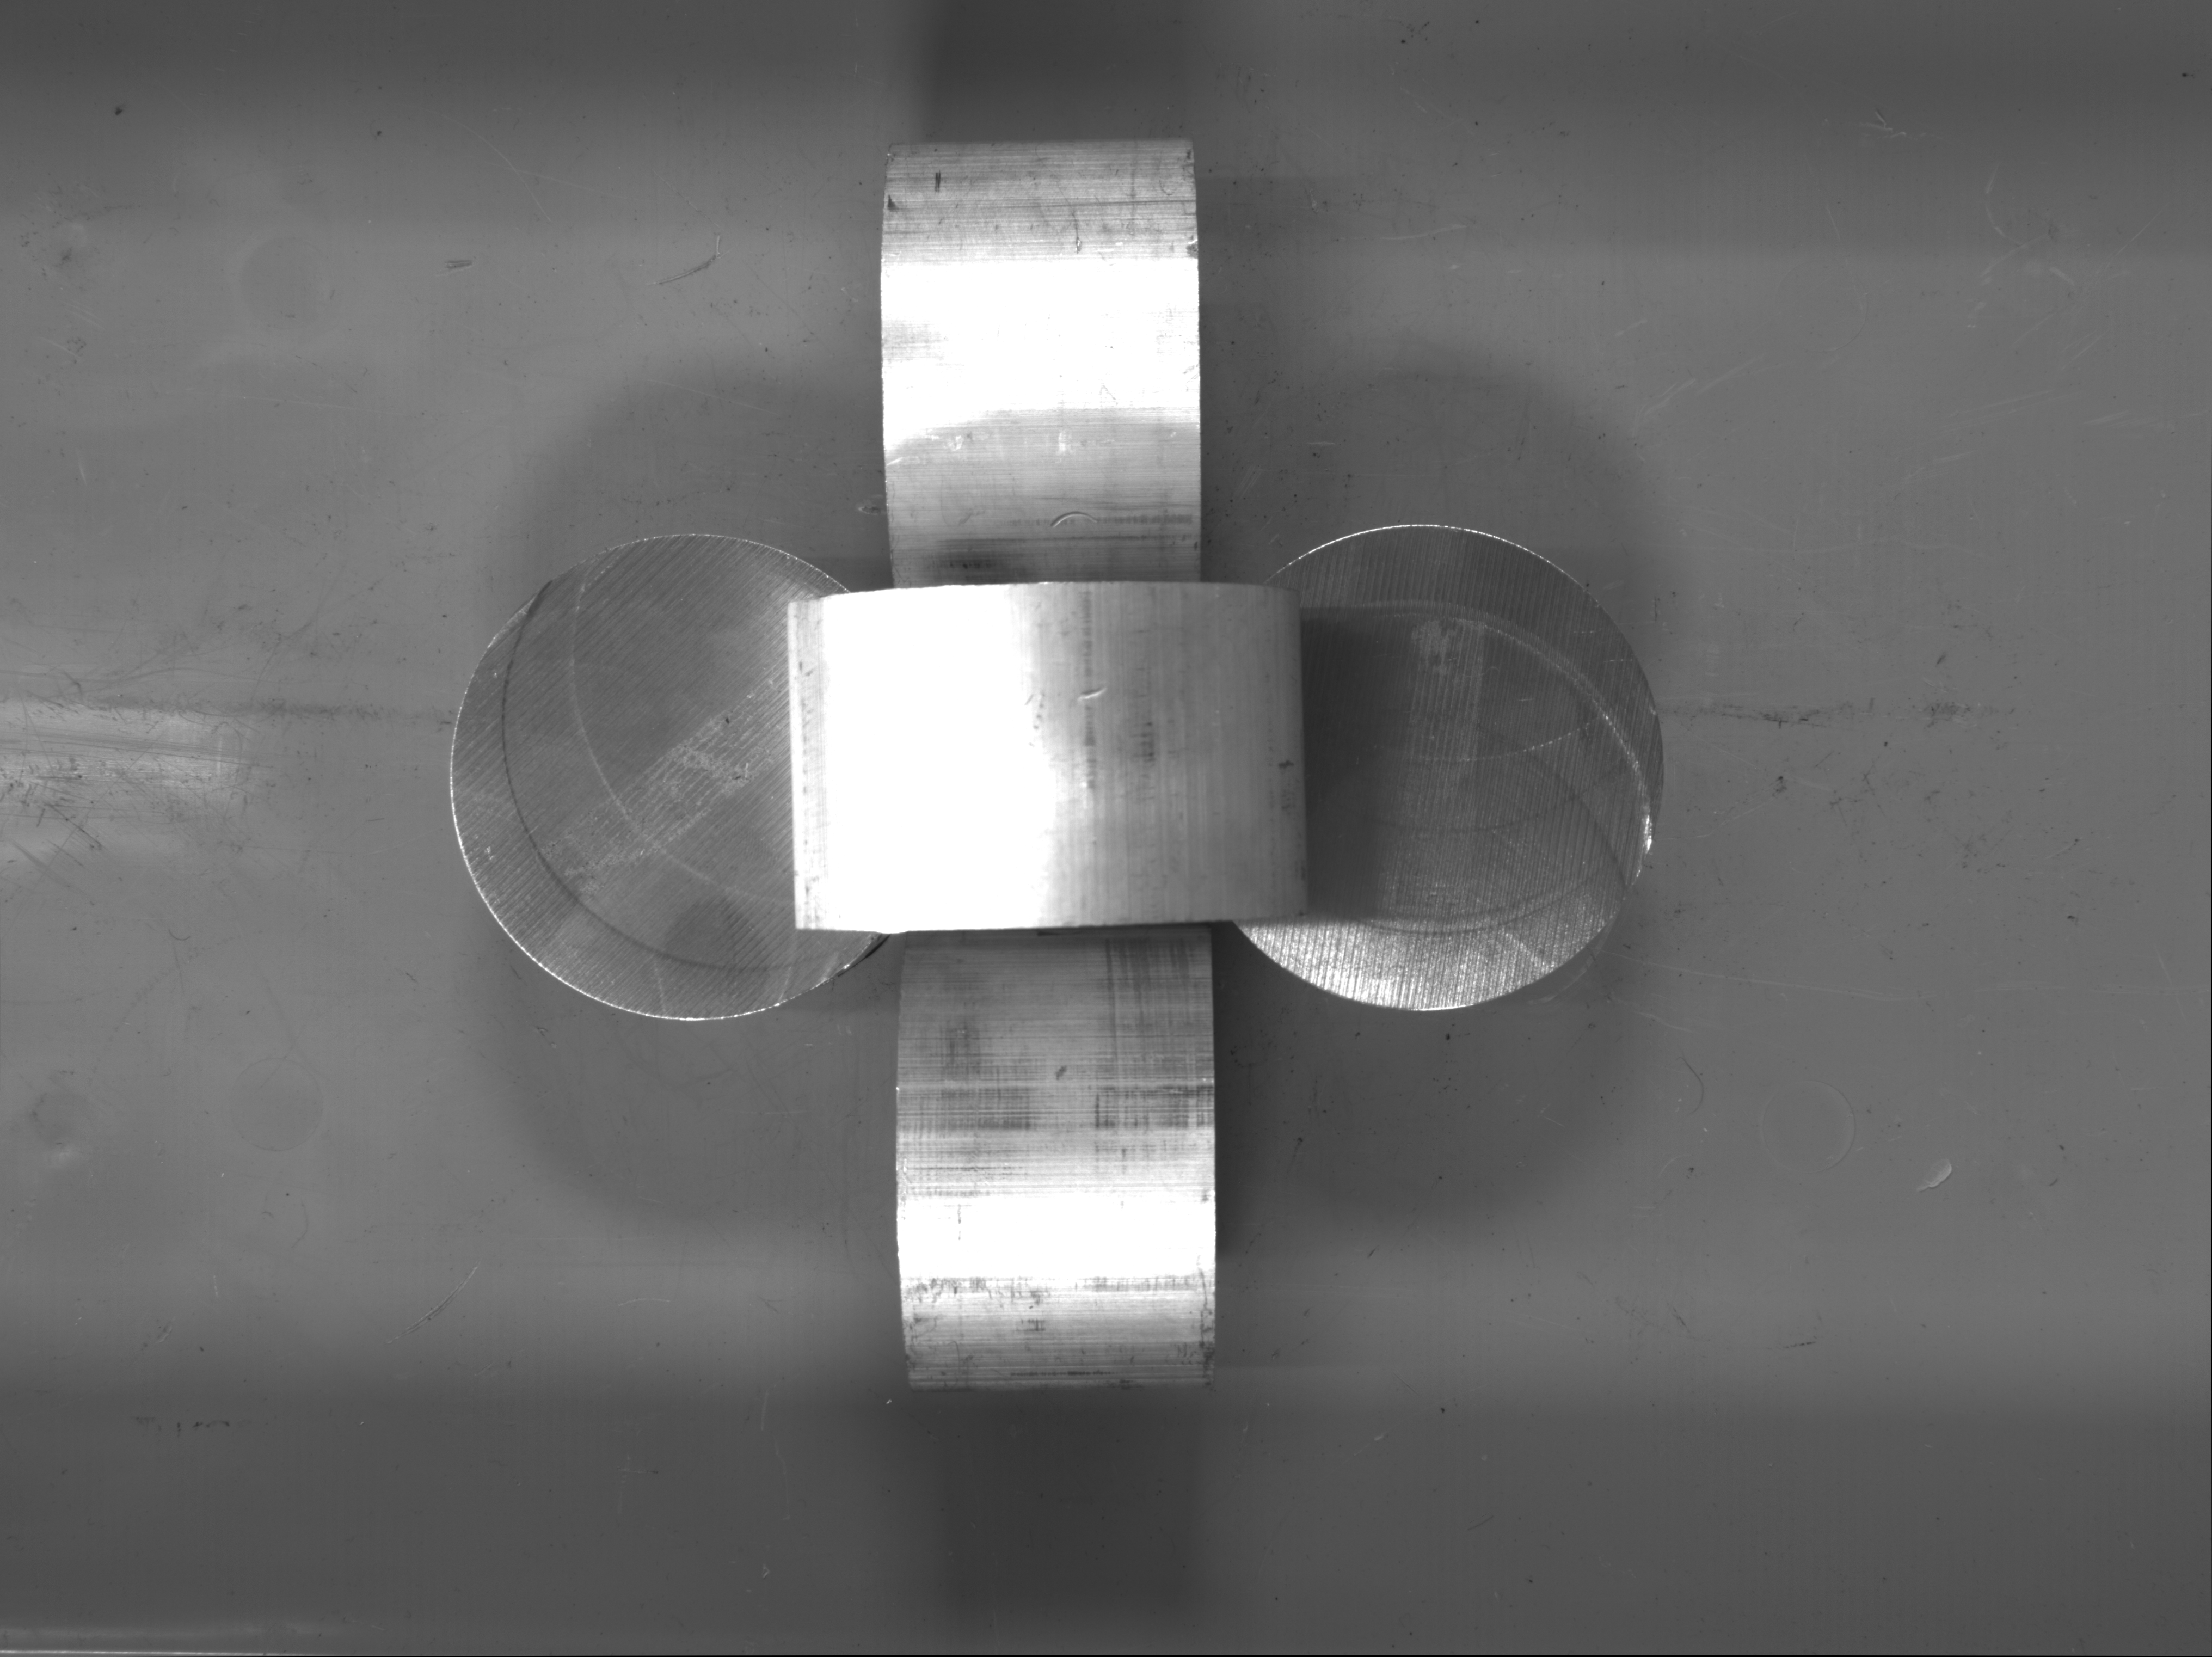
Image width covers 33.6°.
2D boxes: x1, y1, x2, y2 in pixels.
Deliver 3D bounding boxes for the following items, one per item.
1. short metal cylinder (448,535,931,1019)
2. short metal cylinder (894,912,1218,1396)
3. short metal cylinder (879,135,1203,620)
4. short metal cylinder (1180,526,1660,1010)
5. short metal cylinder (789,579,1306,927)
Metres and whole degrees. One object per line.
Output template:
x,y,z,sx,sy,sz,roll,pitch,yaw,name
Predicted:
-0.069,-0.008,0.631,0.080,0.050,0.080,0,90,0,short metal cylinder
-0.008,0.054,0.616,0.050,0.080,0.080,-2,90,0,short metal cylinder
-0.010,-0.075,0.616,0.050,0.080,0.080,-2,90,0,short metal cylinder
0.052,-0.010,0.631,0.080,0.050,0.080,0,90,0,short metal cylinder
-0.009,-0.011,0.572,0.080,0.080,0.050,-1,90,0,short metal cylinder
